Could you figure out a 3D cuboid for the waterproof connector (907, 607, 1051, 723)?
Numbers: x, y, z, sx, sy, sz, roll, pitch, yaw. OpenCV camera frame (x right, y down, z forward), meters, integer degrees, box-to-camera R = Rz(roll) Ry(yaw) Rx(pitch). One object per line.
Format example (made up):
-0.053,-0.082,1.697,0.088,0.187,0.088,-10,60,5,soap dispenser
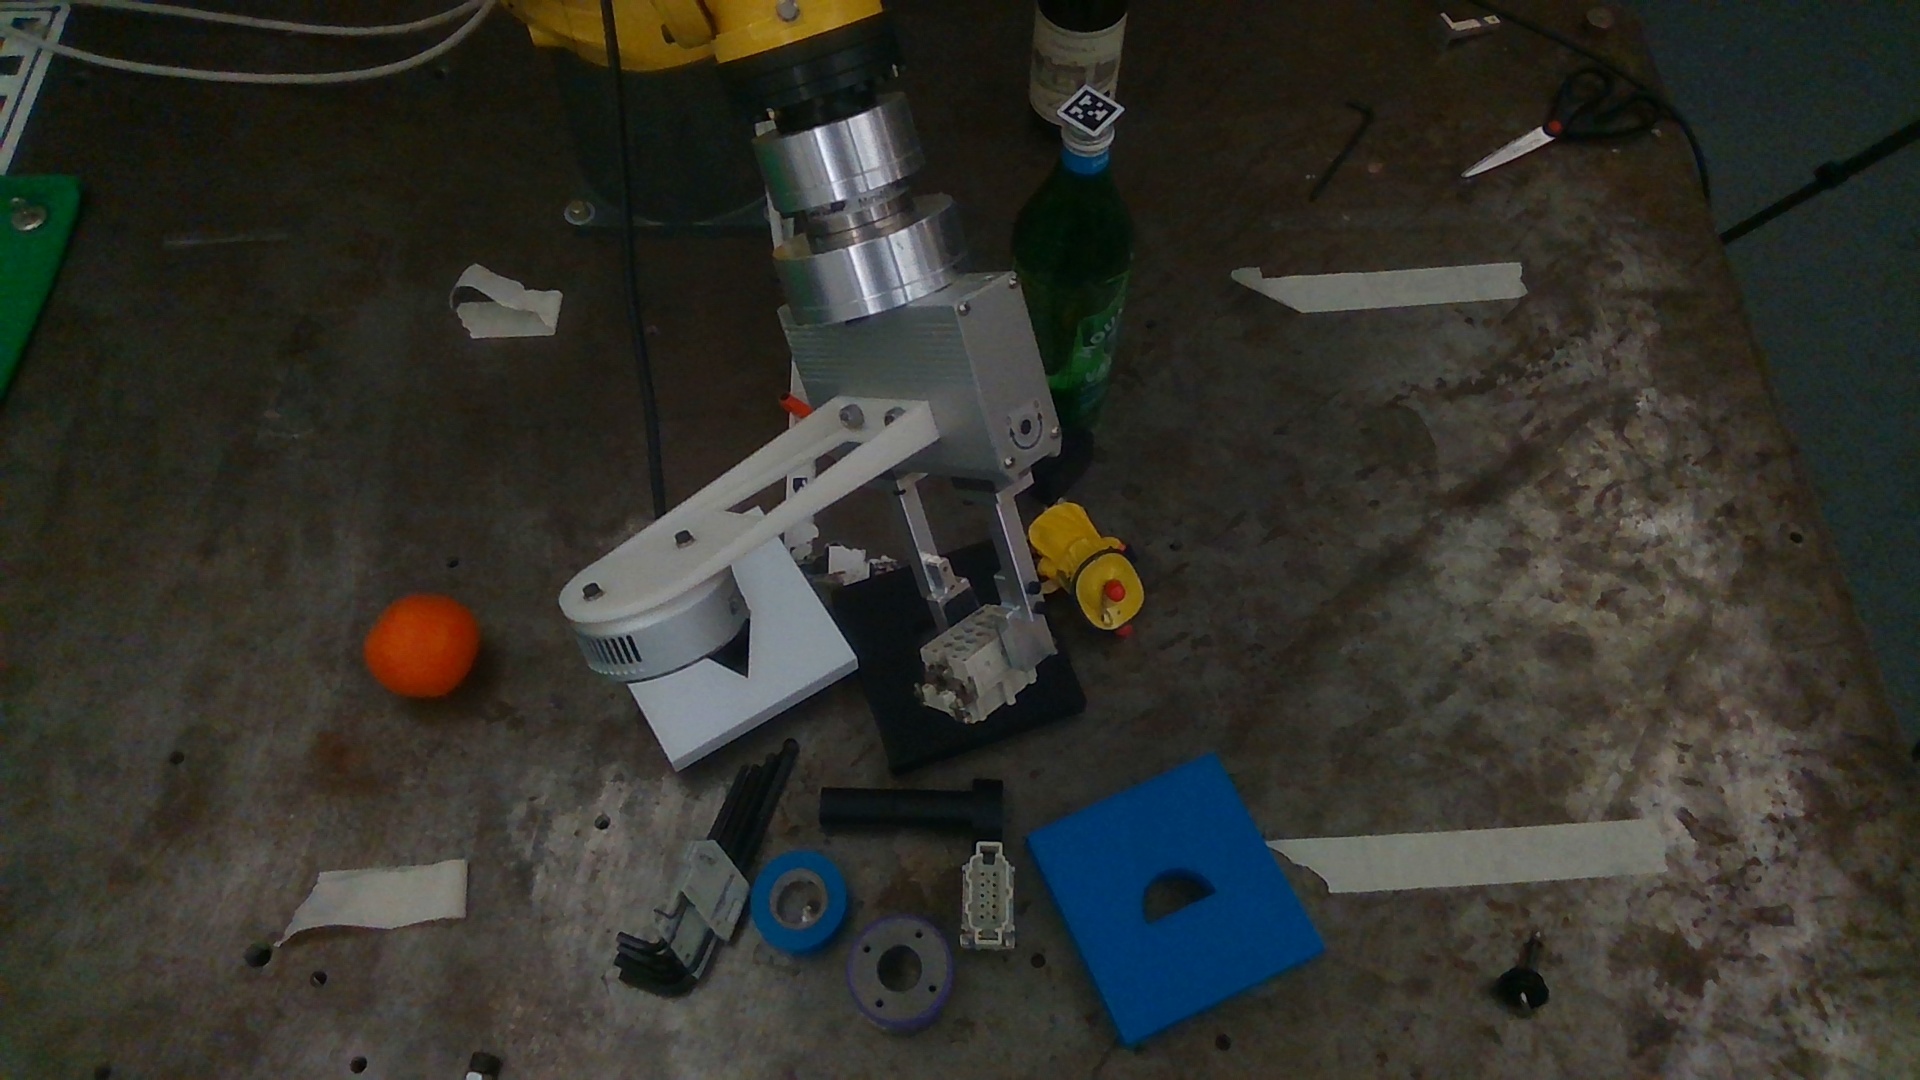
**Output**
0.010,0.058,0.648,0.069,0.038,0.037,-26,19,-39,waterproof connector
